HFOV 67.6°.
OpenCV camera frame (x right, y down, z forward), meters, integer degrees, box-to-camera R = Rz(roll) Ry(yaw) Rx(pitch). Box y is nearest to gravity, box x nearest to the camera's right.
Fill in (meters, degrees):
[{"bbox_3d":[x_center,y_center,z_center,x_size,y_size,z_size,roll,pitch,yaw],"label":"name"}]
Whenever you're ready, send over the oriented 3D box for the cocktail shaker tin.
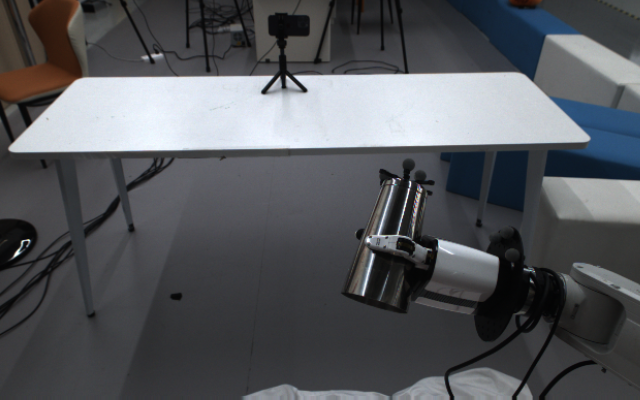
[{"bbox_3d":[0.096,0.060,0.668,0.093,0.093,0.170,14,74,16],"label":"cocktail shaker tin"}]
